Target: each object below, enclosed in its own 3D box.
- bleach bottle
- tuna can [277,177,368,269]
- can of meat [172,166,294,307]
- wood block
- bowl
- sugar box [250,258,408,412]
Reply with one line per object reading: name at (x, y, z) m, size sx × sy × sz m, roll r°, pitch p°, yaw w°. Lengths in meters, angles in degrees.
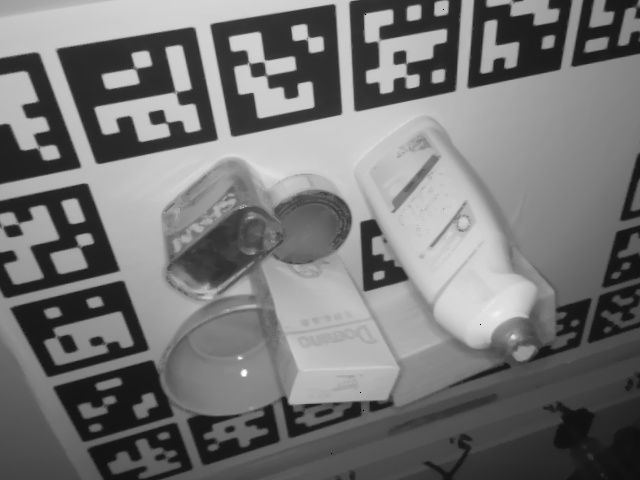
bleach bottle at (0.121, -0.002, 0.582) m, size 0.102 × 0.251 × 0.068 m, roll -35°, pitch 129°, yaw 6°
tuna can at (0.000, -0.017, 0.659) m, size 0.086 × 0.034 × 0.085 m, roll -10°, pitch 123°, yaw -14°
can of meat at (-0.080, -0.006, 0.614) m, size 0.101 × 0.084 × 0.058 m, roll -38°, pitch 131°, yaw 10°
wood block at (0.175, 0.107, 0.783) m, size 0.207 × 0.090 × 0.090 m, roll -21°, pitch 124°, yaw -4°
bowl at (-0.081, 0.127, 0.719) m, size 0.163 × 0.055 × 0.160 m, roll -13°, pitch 127°, yaw -16°
sugar box at (0.004, 0.077, 0.636) m, size 0.094 × 0.176 × 0.045 m, roll 2°, pitch 121°, yaw -25°
